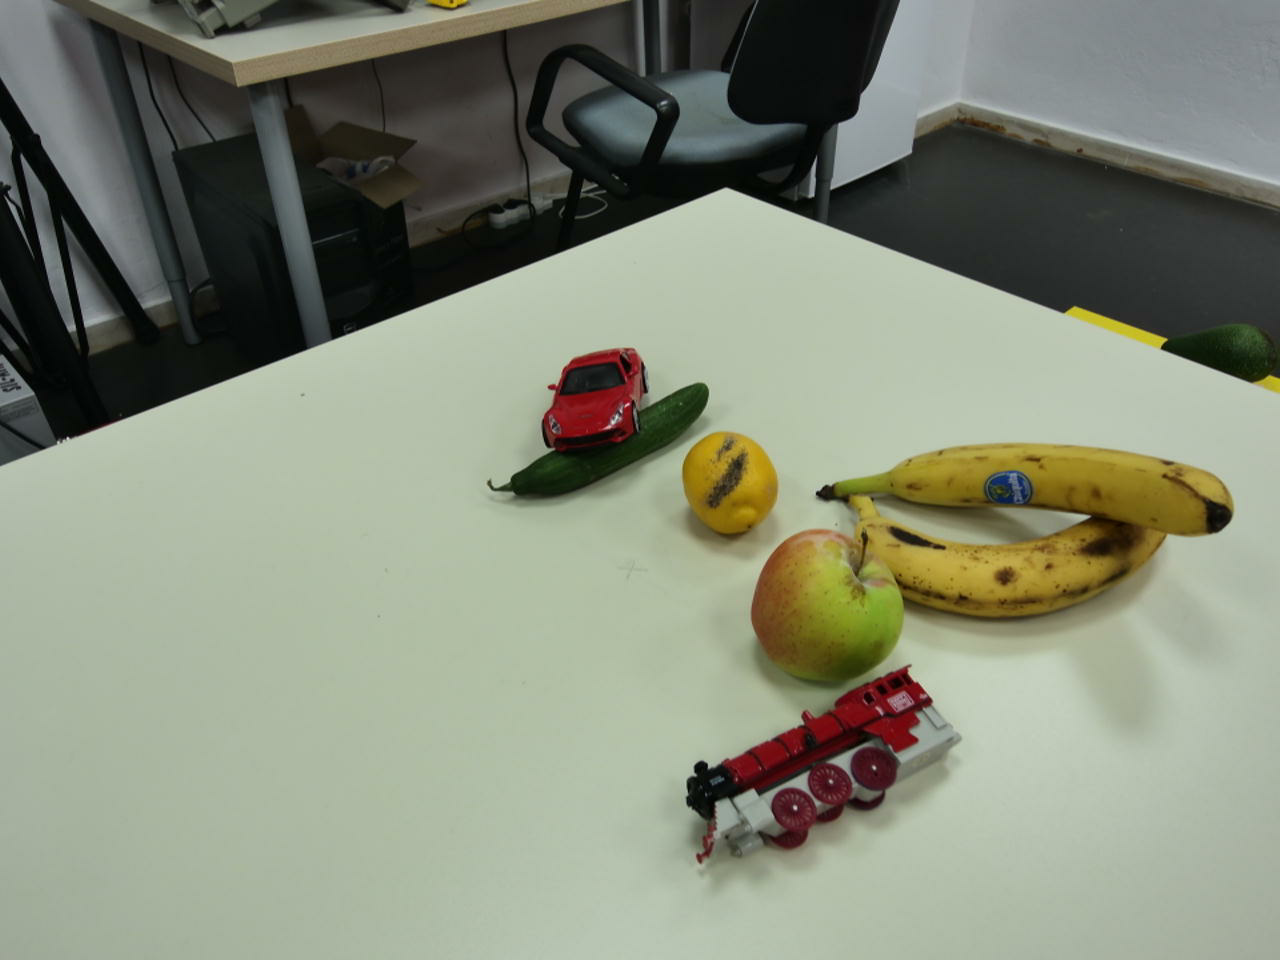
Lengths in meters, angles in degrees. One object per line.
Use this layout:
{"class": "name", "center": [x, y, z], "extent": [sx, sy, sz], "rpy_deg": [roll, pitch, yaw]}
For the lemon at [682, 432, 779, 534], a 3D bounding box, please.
{"class": "lemon", "center": [0.055, 0.002, 0.599], "extent": [0.061, 0.056, 0.058], "rpy_deg": [28, 45, 32]}
